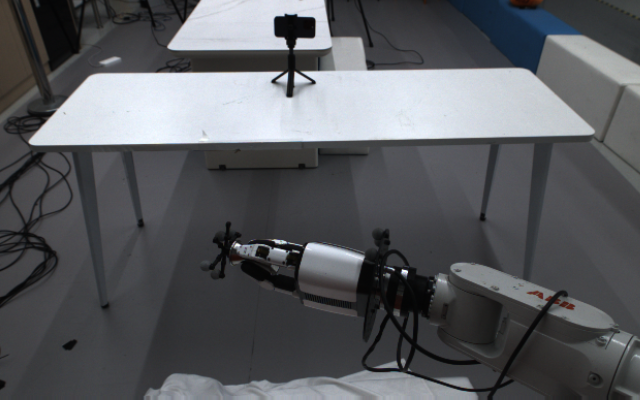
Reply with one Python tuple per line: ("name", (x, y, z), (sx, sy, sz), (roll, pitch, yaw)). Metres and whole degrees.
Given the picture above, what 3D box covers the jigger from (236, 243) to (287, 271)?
("jigger", (-0.090, 0.081, 0.722), (0.071, 0.043, 0.043), (10, 35, 16))
